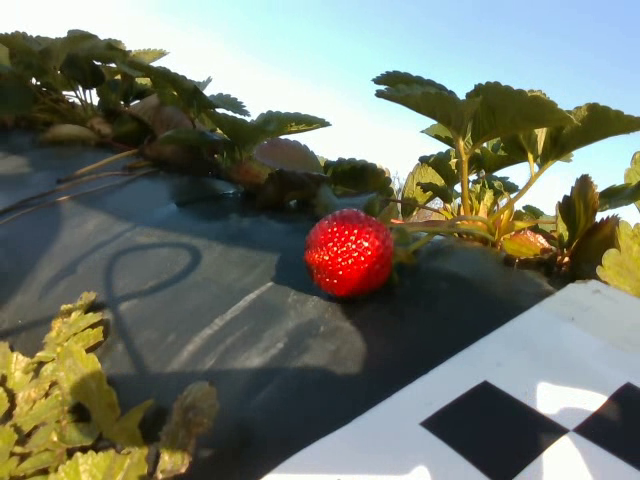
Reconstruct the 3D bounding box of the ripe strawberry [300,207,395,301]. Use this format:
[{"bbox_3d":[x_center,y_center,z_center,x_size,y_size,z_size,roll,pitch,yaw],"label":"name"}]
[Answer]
[{"bbox_3d":[0.008,0.005,0.225,0.040,0.037,0.044,13,21,31],"label":"ripe strawberry"}]
